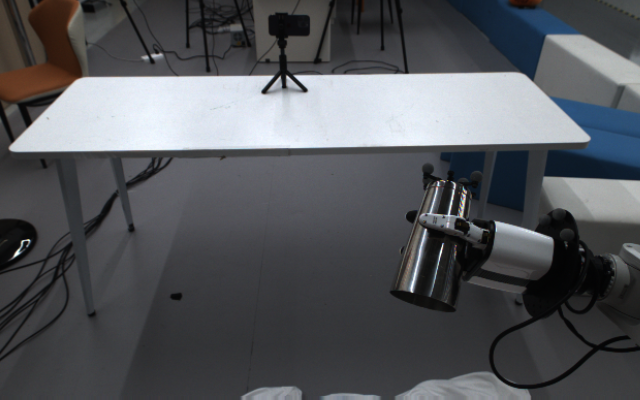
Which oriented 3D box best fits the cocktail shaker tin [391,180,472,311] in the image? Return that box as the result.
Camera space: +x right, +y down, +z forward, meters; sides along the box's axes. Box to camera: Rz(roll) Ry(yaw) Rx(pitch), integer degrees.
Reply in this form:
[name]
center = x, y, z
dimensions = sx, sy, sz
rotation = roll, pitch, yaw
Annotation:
[cocktail shaker tin]
center = 0.165, 0.061, 0.683
dimensions = 0.093, 0.093, 0.170
rotation = 13, 70, 15
